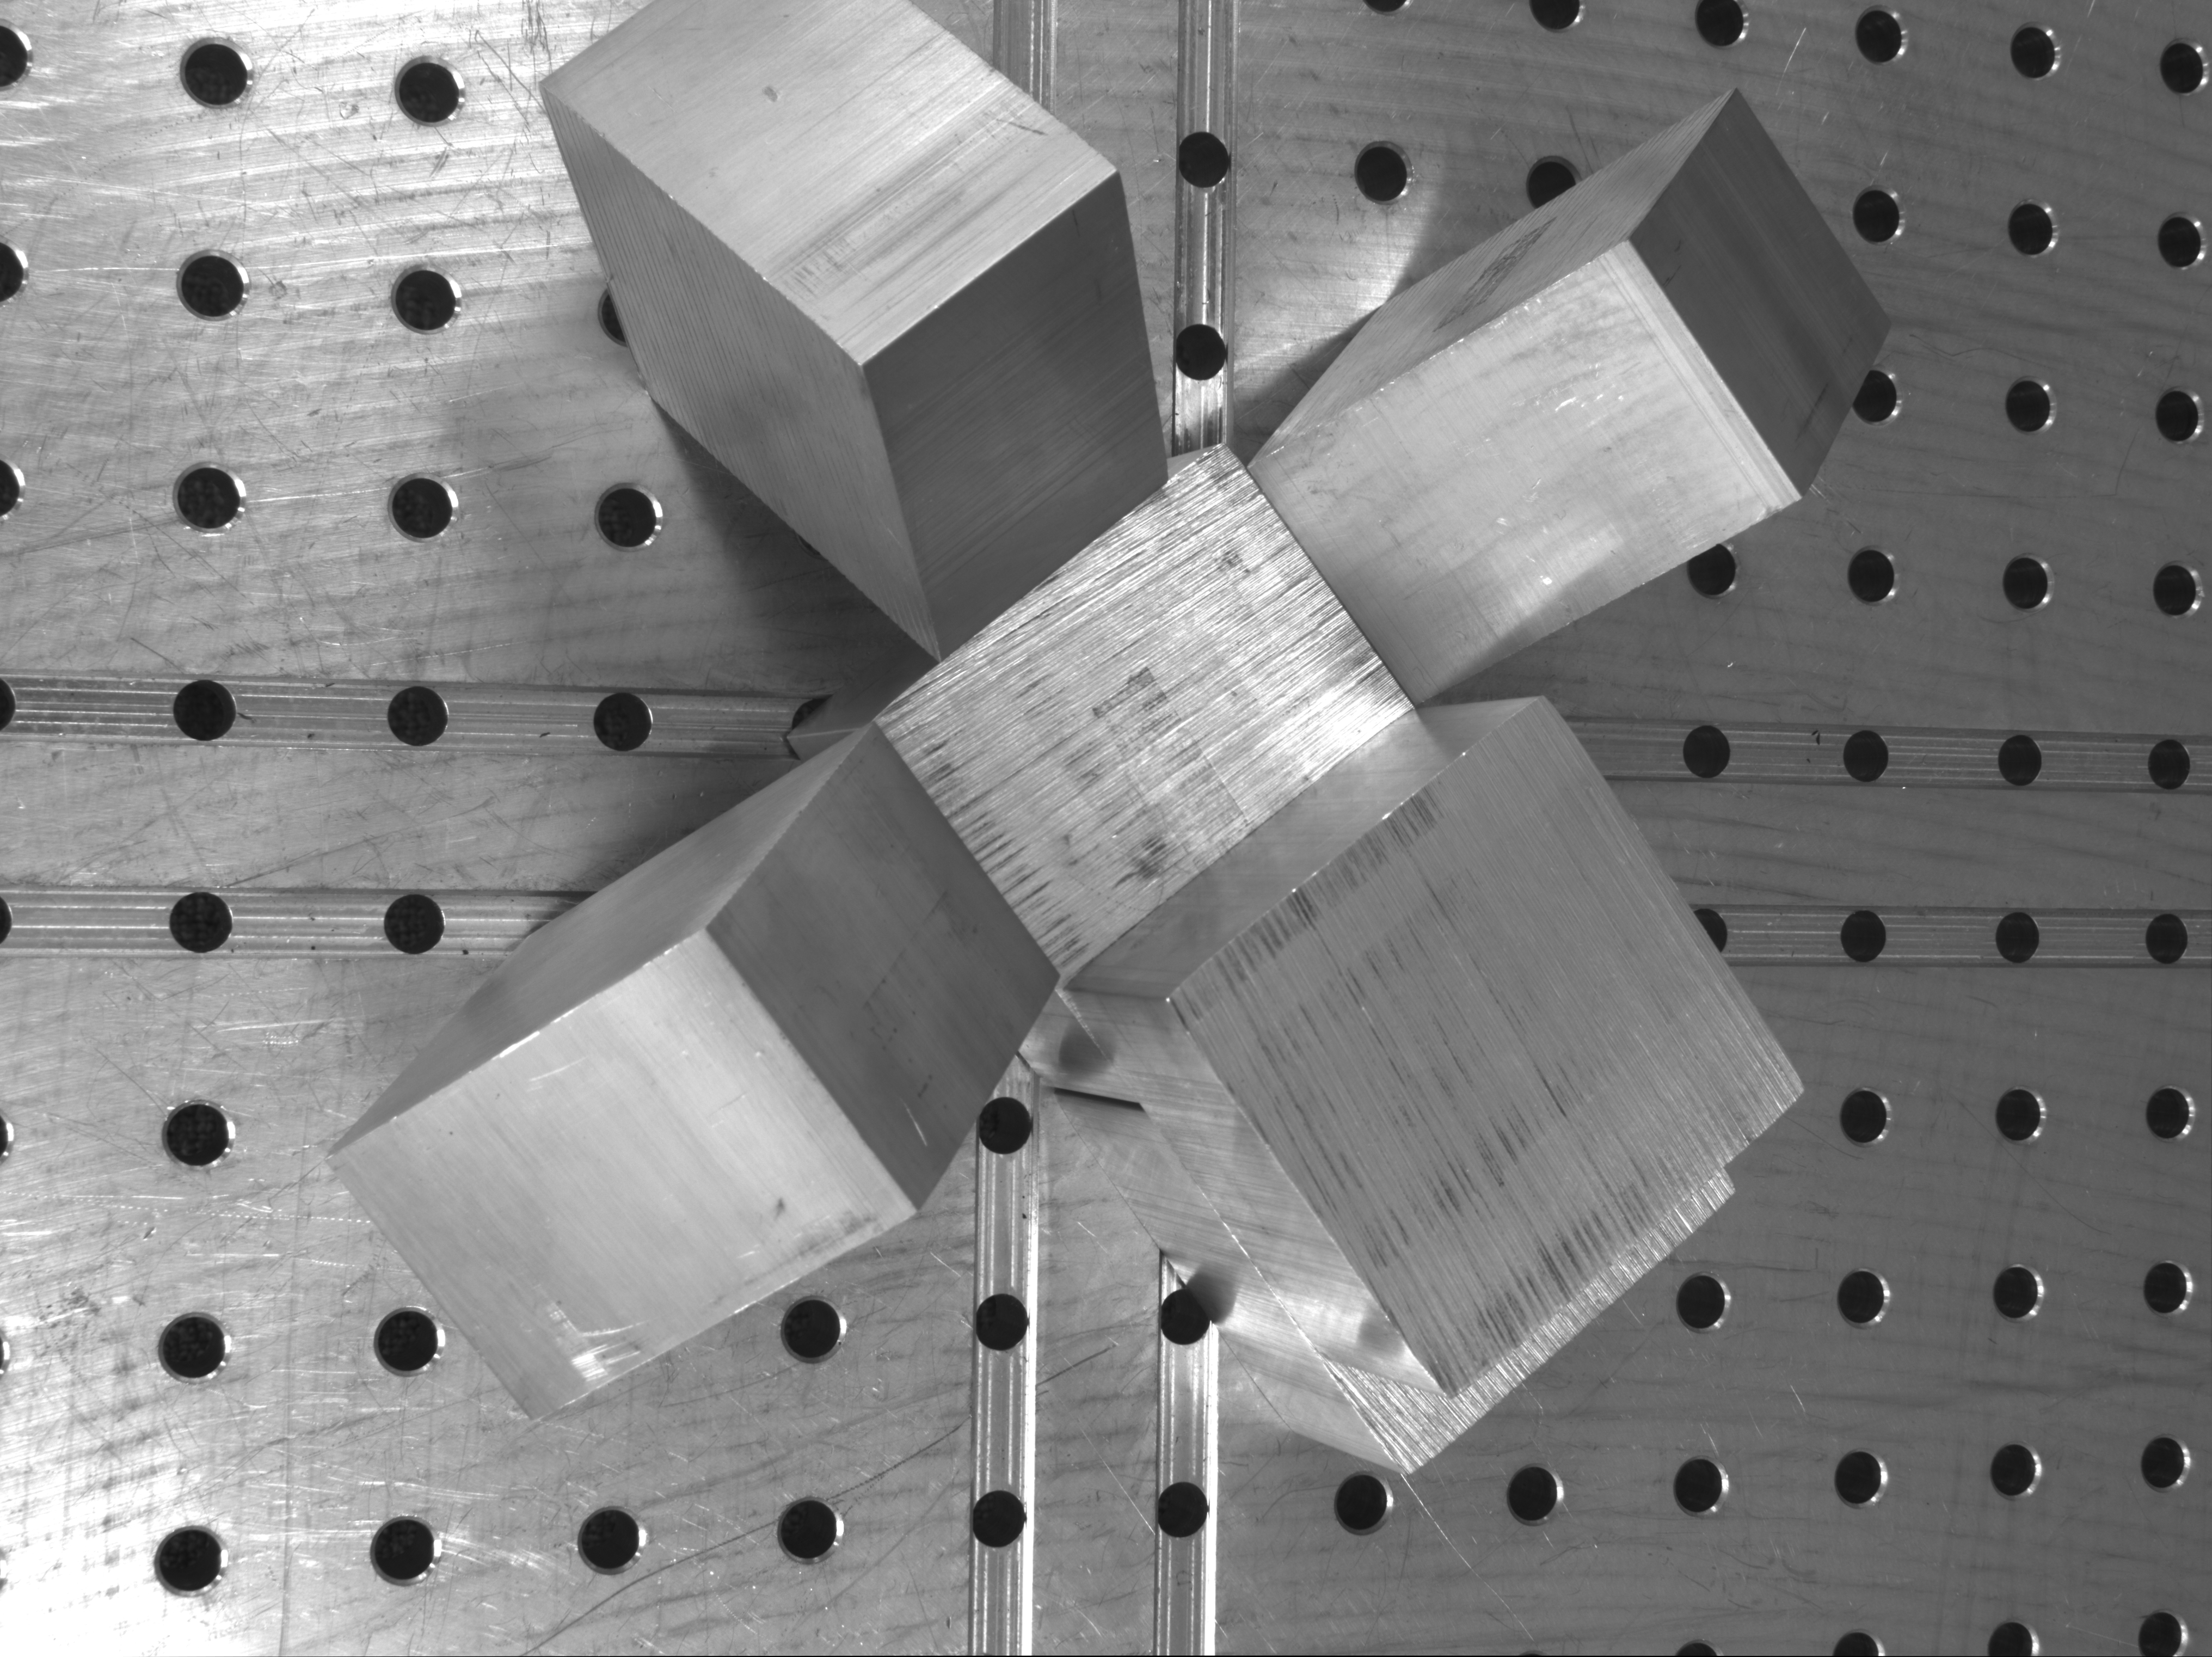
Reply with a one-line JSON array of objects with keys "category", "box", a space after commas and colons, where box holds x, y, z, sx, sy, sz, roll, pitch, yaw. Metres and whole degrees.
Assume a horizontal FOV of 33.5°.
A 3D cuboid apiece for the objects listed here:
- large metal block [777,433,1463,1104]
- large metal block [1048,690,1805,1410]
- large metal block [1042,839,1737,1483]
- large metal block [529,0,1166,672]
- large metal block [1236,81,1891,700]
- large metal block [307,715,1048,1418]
[{"category": "large metal block", "box": [0.004, -0.010, 0.634, 0.080, 0.050, 0.080, -40, 102, -15]}, {"category": "large metal block", "box": [0.052, 0.034, 0.597, 0.080, 0.050, 0.080, -39, 103, -17]}, {"category": "large metal block", "box": [0.050, 0.056, 0.650, 0.080, 0.050, 0.080, -38, 101, -17]}, {"category": "large metal block", "box": [-0.039, -0.085, 0.586, 0.050, 0.080, 0.080, -39, 63, -15]}, {"category": "large metal block", "box": [0.080, -0.075, 0.629, 0.050, 0.080, 0.080, 54, 34, -12]}, {"category": "large metal block", "box": [-0.065, 0.036, 0.577, 0.080, 0.080, 0.050, -31, 102, 25]}]
